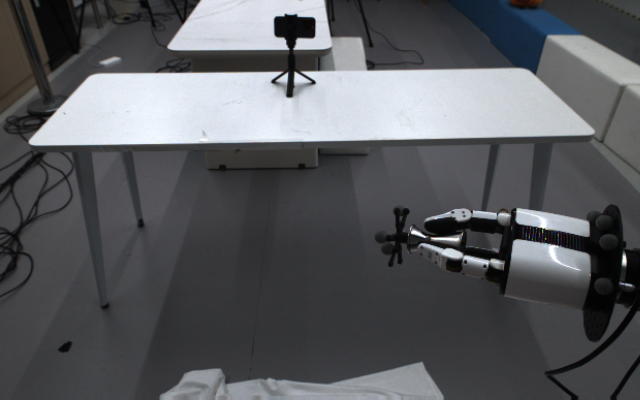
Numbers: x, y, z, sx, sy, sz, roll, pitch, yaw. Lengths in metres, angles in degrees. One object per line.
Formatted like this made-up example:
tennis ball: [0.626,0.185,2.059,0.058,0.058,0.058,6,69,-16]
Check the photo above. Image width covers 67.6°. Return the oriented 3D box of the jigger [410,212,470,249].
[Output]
jigger: [0.159,0.049,0.631,0.071,0.043,0.043,6,33,26]
